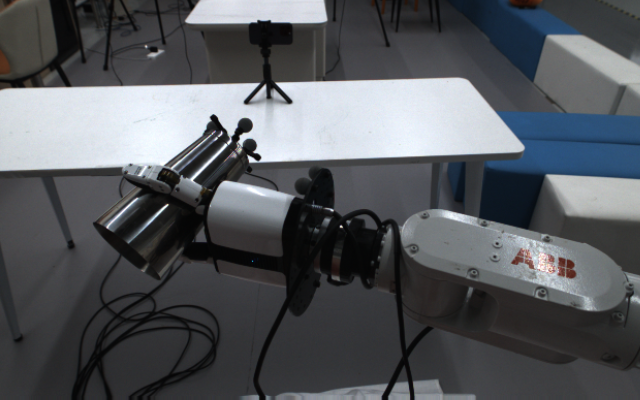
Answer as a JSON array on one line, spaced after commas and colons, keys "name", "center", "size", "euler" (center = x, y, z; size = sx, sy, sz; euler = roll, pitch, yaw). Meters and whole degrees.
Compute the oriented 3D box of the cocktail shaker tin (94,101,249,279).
[{"name": "cocktail shaker tin", "center": [-0.160, -0.008, 0.555], "size": [0.093, 0.093, 0.170], "euler": [23, 57, 27]}]
